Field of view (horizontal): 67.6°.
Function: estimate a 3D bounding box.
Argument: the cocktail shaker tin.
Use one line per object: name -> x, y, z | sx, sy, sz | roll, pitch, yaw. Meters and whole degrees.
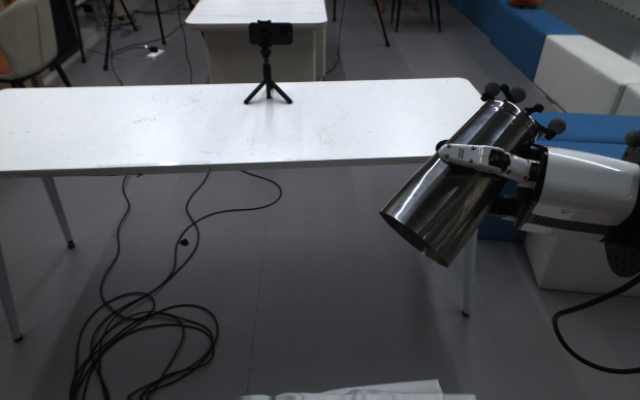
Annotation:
cocktail shaker tin -> 0.155, -0.026, 0.520 | 0.170, 0.093, 0.093 | -48, 49, -3
